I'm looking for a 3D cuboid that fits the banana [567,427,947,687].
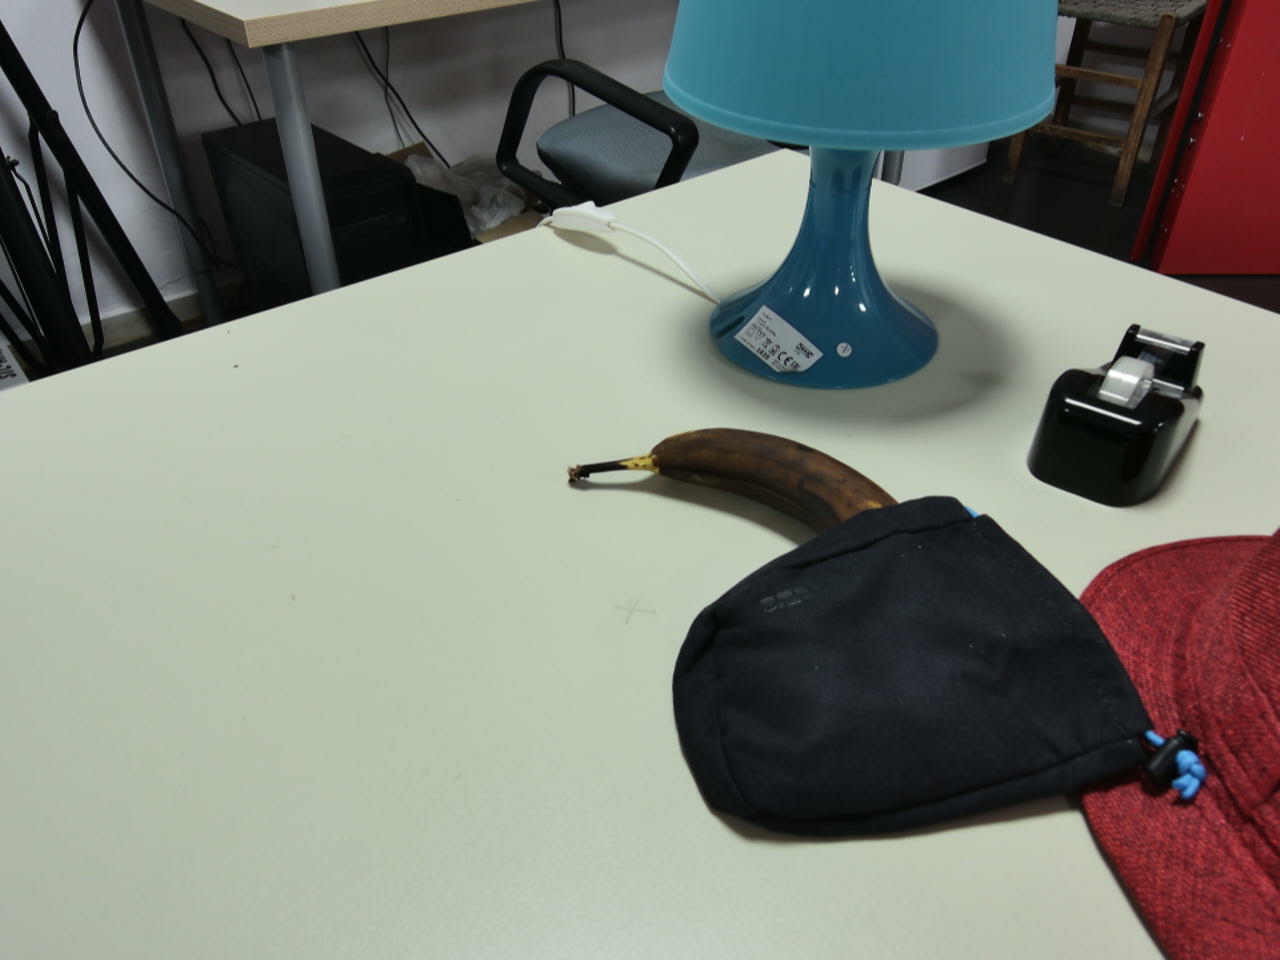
[{"bbox_3d":[0.059,0.014,0.426,0.091,0.034,0.188,-24,41,-29],"label":"banana"}]
